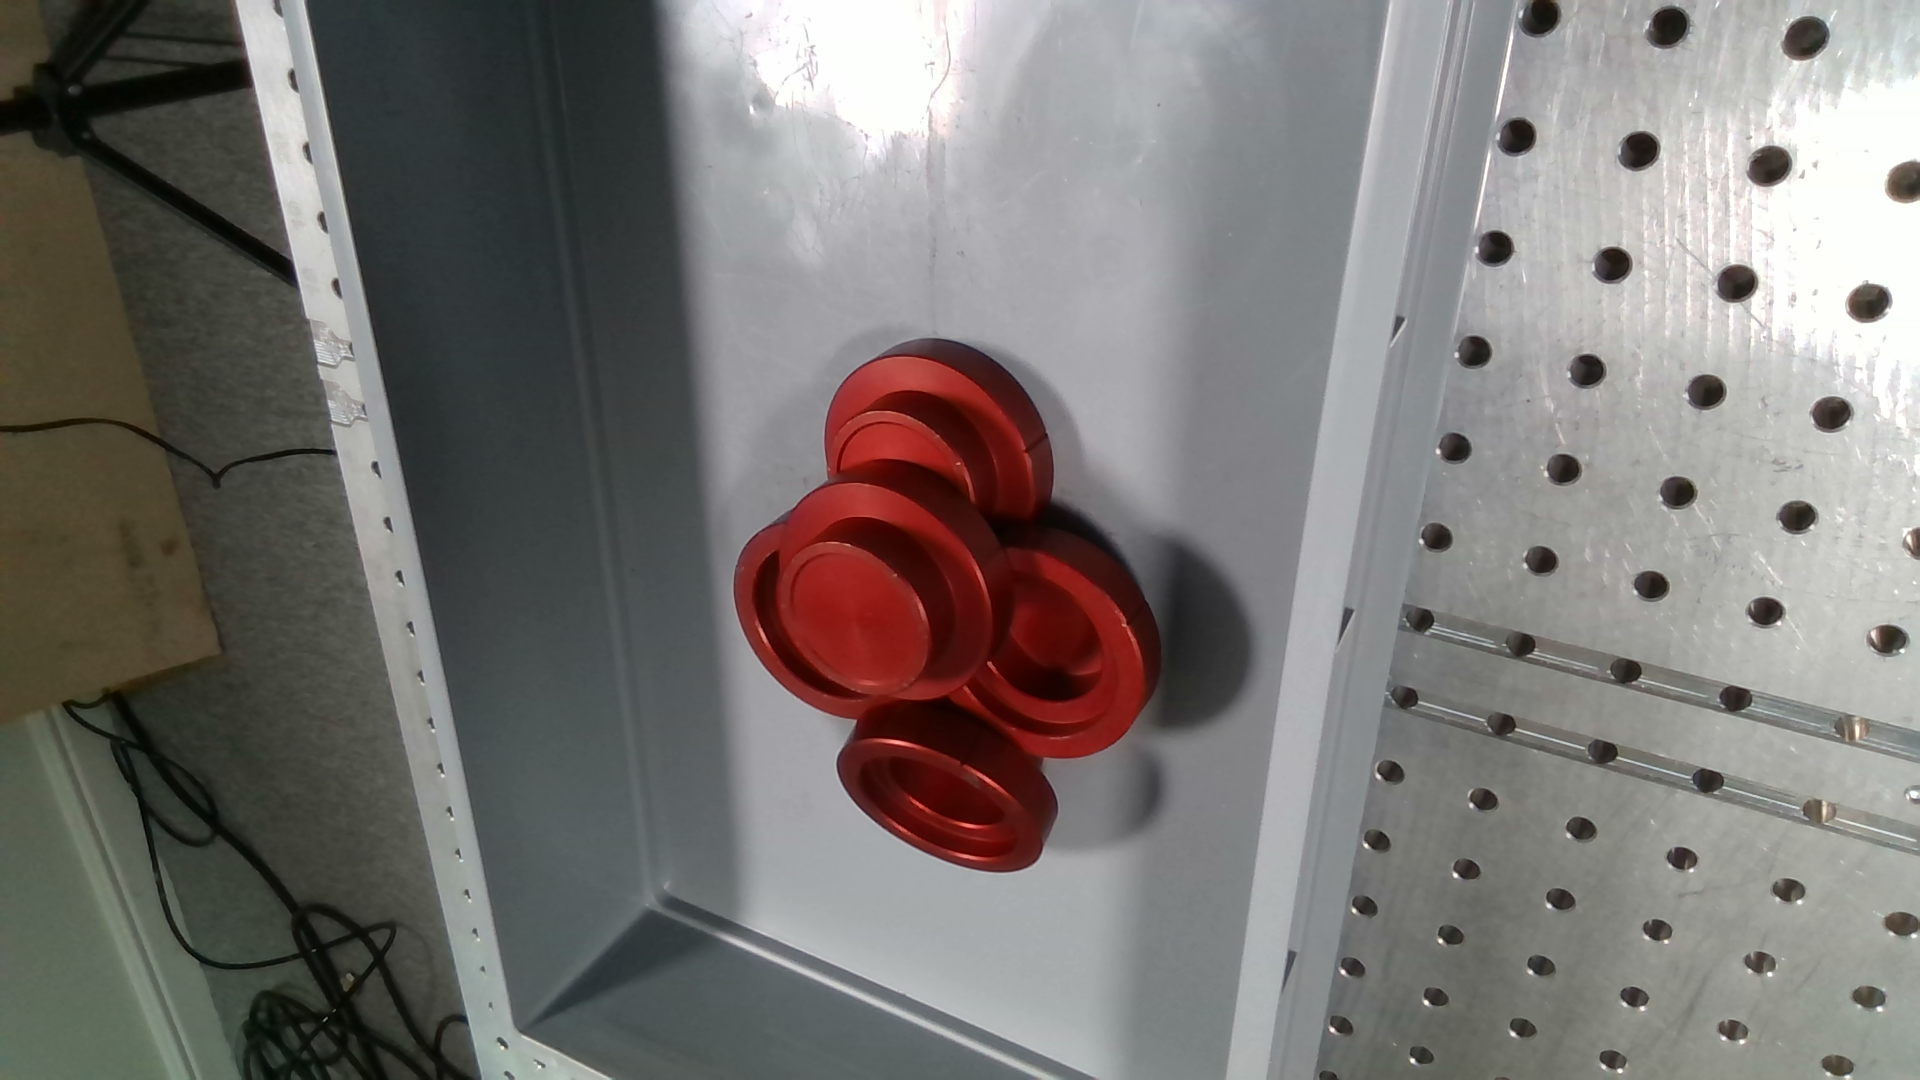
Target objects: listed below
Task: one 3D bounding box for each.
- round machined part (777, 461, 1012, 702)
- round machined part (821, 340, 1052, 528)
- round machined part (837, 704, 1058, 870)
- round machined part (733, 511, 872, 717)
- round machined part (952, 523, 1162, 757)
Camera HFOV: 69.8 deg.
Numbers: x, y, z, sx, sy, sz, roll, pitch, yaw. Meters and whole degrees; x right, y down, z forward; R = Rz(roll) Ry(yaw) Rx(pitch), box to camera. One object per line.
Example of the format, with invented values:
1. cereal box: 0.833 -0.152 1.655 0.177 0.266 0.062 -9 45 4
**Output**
1. round machined part: -0.032 0.022 0.543 0.098 0.042 0.098 14 122 25
2. round machined part: -0.016 -0.029 0.559 0.098 0.042 0.098 14 122 25
3. round machined part: -0.002 0.101 0.610 0.098 0.042 0.098 19 143 15
4. round machined part: -0.049 0.027 0.612 0.098 0.042 0.098 14 122 25
5. round machined part: 0.037 0.037 0.565 0.098 0.042 0.098 14 122 25
